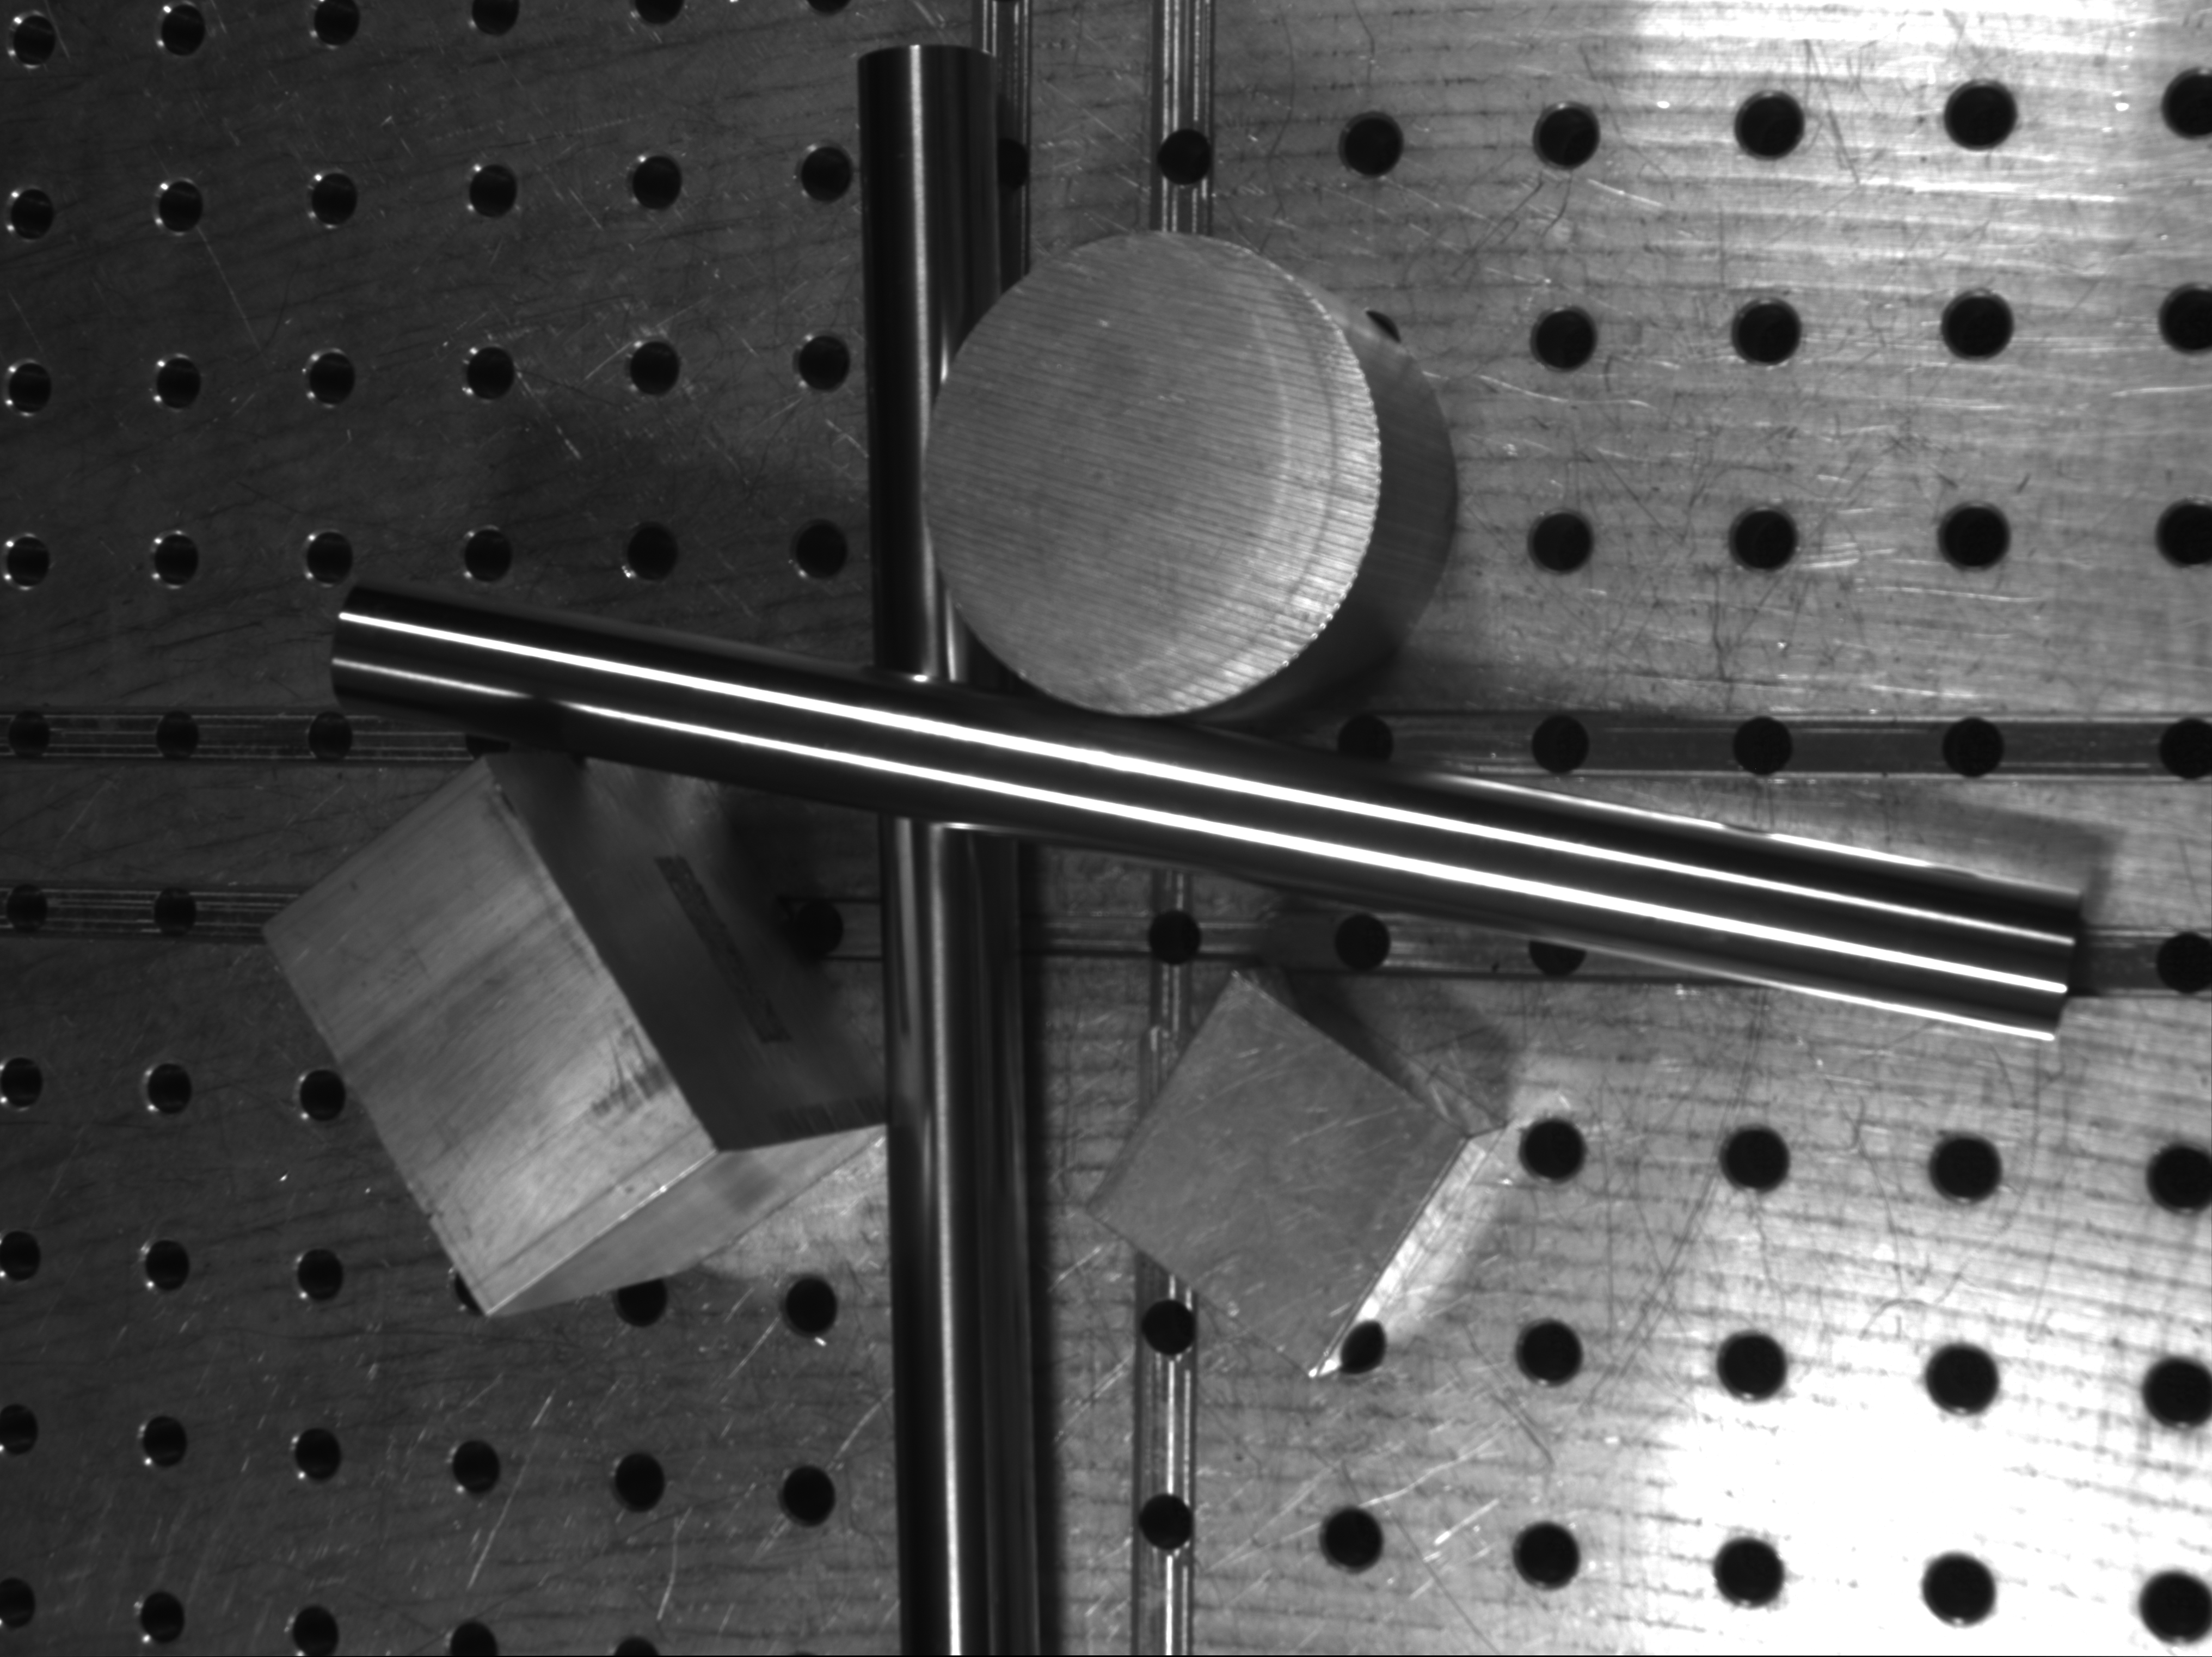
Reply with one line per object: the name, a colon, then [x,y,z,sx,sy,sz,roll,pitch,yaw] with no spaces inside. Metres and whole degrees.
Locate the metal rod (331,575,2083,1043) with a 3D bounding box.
metal rod: [0.011,-0.005,0.623,0.300,0.025,0.025,11,94,12]

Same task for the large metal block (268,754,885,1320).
large metal block: [-0.089,0.035,0.648,0.050,0.080,0.080,-36,78,16]

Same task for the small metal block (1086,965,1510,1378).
small metal block: [0.033,0.059,0.636,0.050,0.025,0.050,35,101,16]

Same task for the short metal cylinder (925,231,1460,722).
short metal cylinder: [0.016,-0.059,0.628,0.080,0.050,0.080,0,90,20]

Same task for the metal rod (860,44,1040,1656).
metal rod: [-0.028,0.012,0.657,0.025,0.025,0.300,-2,89,20]
